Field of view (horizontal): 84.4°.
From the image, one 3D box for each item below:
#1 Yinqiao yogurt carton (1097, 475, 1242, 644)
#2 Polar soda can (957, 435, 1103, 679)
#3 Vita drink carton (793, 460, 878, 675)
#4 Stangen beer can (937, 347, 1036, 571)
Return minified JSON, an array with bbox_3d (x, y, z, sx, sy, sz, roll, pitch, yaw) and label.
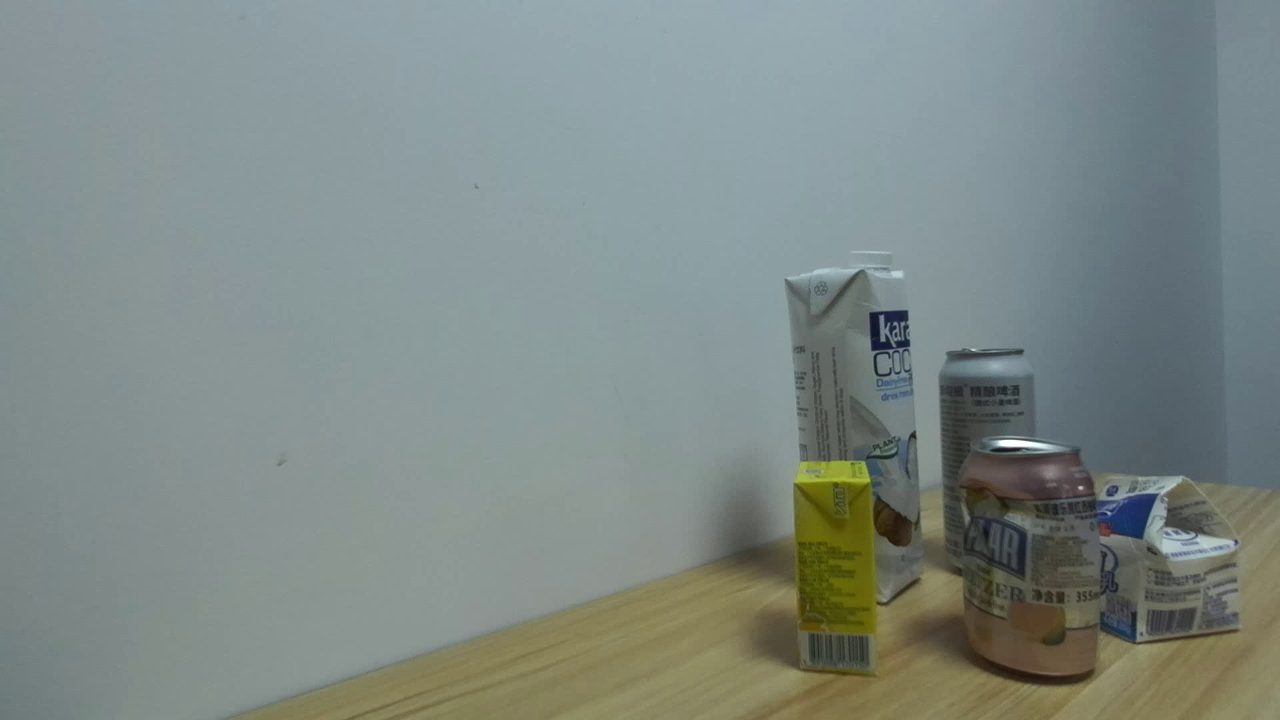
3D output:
[{"bbox_3d":[0.310,0.114,0.436,0.077,0.093,0.083,-3,1,-9],"label":"Yinqiao yogurt carton"},{"bbox_3d":[0.216,0.109,0.395,0.067,0.121,0.074,-1,0,26],"label":"Polar soda can"},{"bbox_3d":[0.114,0.117,0.414,0.043,0.109,0.067,-2,2,14],"label":"Vita drink carton"},{"bbox_3d":[0.265,0.077,0.537,0.067,0.171,0.067,-5,0,0],"label":"Stangen beer can"}]
